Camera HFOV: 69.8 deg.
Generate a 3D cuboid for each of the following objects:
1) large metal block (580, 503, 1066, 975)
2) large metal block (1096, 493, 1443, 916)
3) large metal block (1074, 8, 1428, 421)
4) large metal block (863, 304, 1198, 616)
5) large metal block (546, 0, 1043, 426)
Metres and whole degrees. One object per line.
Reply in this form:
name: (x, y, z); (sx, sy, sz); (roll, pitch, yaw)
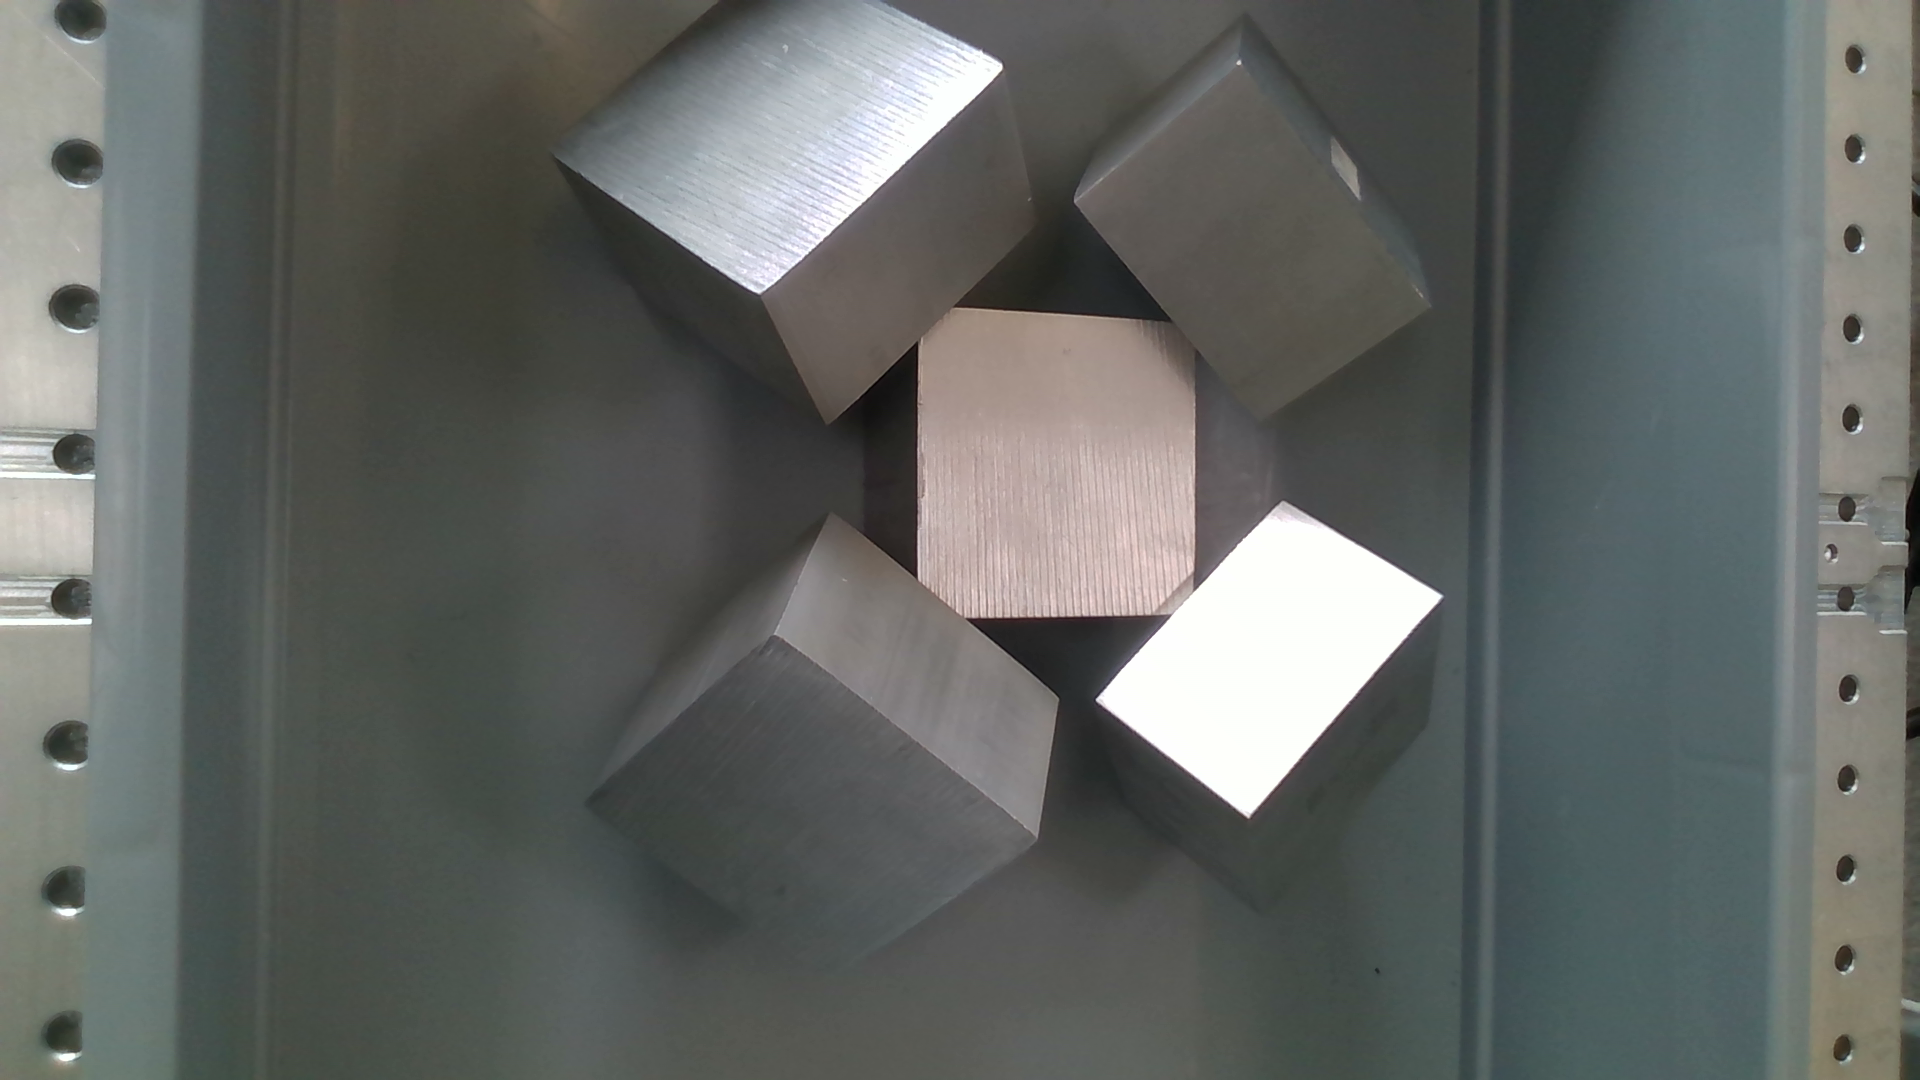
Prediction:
large metal block: (-0.032, 0.052, 0.345); (0.080, 0.050, 0.080); (40, 122, -16)
large metal block: (0.089, 0.048, 0.390); (0.080, 0.050, 0.080); (-45, 147, -15)
large metal block: (0.082, -0.093, 0.385); (0.050, 0.080, 0.080); (-36, 107, 28)
large metal block: (0.019, -0.020, 0.385); (0.080, 0.050, 0.080); (1, 90, -20)
large metal block: (-0.039, -0.089, 0.343); (0.080, 0.050, 0.080); (36, 74, 29)
